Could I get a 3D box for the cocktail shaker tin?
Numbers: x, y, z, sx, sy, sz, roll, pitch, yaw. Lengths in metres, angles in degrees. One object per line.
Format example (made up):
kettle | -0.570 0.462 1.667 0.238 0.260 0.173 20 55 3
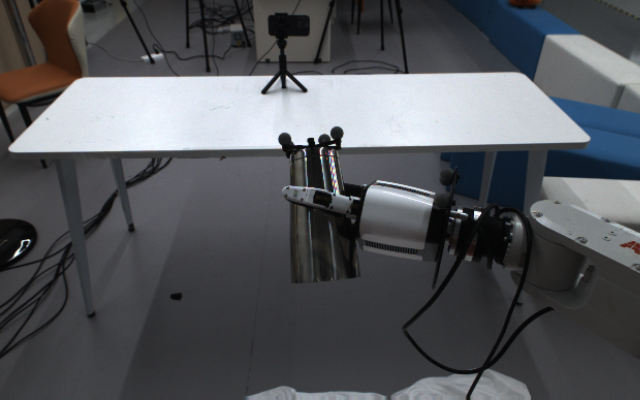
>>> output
cocktail shaker tin | 0.000 0.021 0.644 0.093 0.170 0.093 -6 -7 -1
